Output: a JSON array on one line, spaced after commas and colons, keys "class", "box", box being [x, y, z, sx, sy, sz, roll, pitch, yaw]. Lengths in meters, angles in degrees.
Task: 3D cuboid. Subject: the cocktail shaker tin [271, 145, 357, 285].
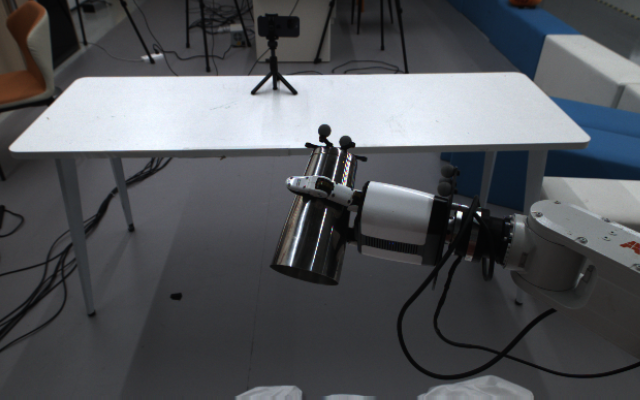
[{"class": "cocktail shaker tin", "box": [0.001, 0.019, 0.644, 0.093, 0.093, 0.170, 11, 71, 12]}]
